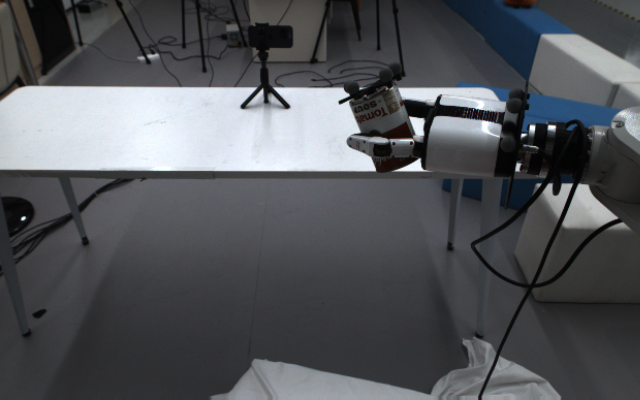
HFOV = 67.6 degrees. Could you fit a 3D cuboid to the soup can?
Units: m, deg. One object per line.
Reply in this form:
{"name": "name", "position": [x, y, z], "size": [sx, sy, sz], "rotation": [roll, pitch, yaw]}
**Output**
{"name": "soup can", "position": [0.089, -0.098, 0.646], "size": [0.067, 0.101, 0.067], "rotation": [-23, 16, 7]}
